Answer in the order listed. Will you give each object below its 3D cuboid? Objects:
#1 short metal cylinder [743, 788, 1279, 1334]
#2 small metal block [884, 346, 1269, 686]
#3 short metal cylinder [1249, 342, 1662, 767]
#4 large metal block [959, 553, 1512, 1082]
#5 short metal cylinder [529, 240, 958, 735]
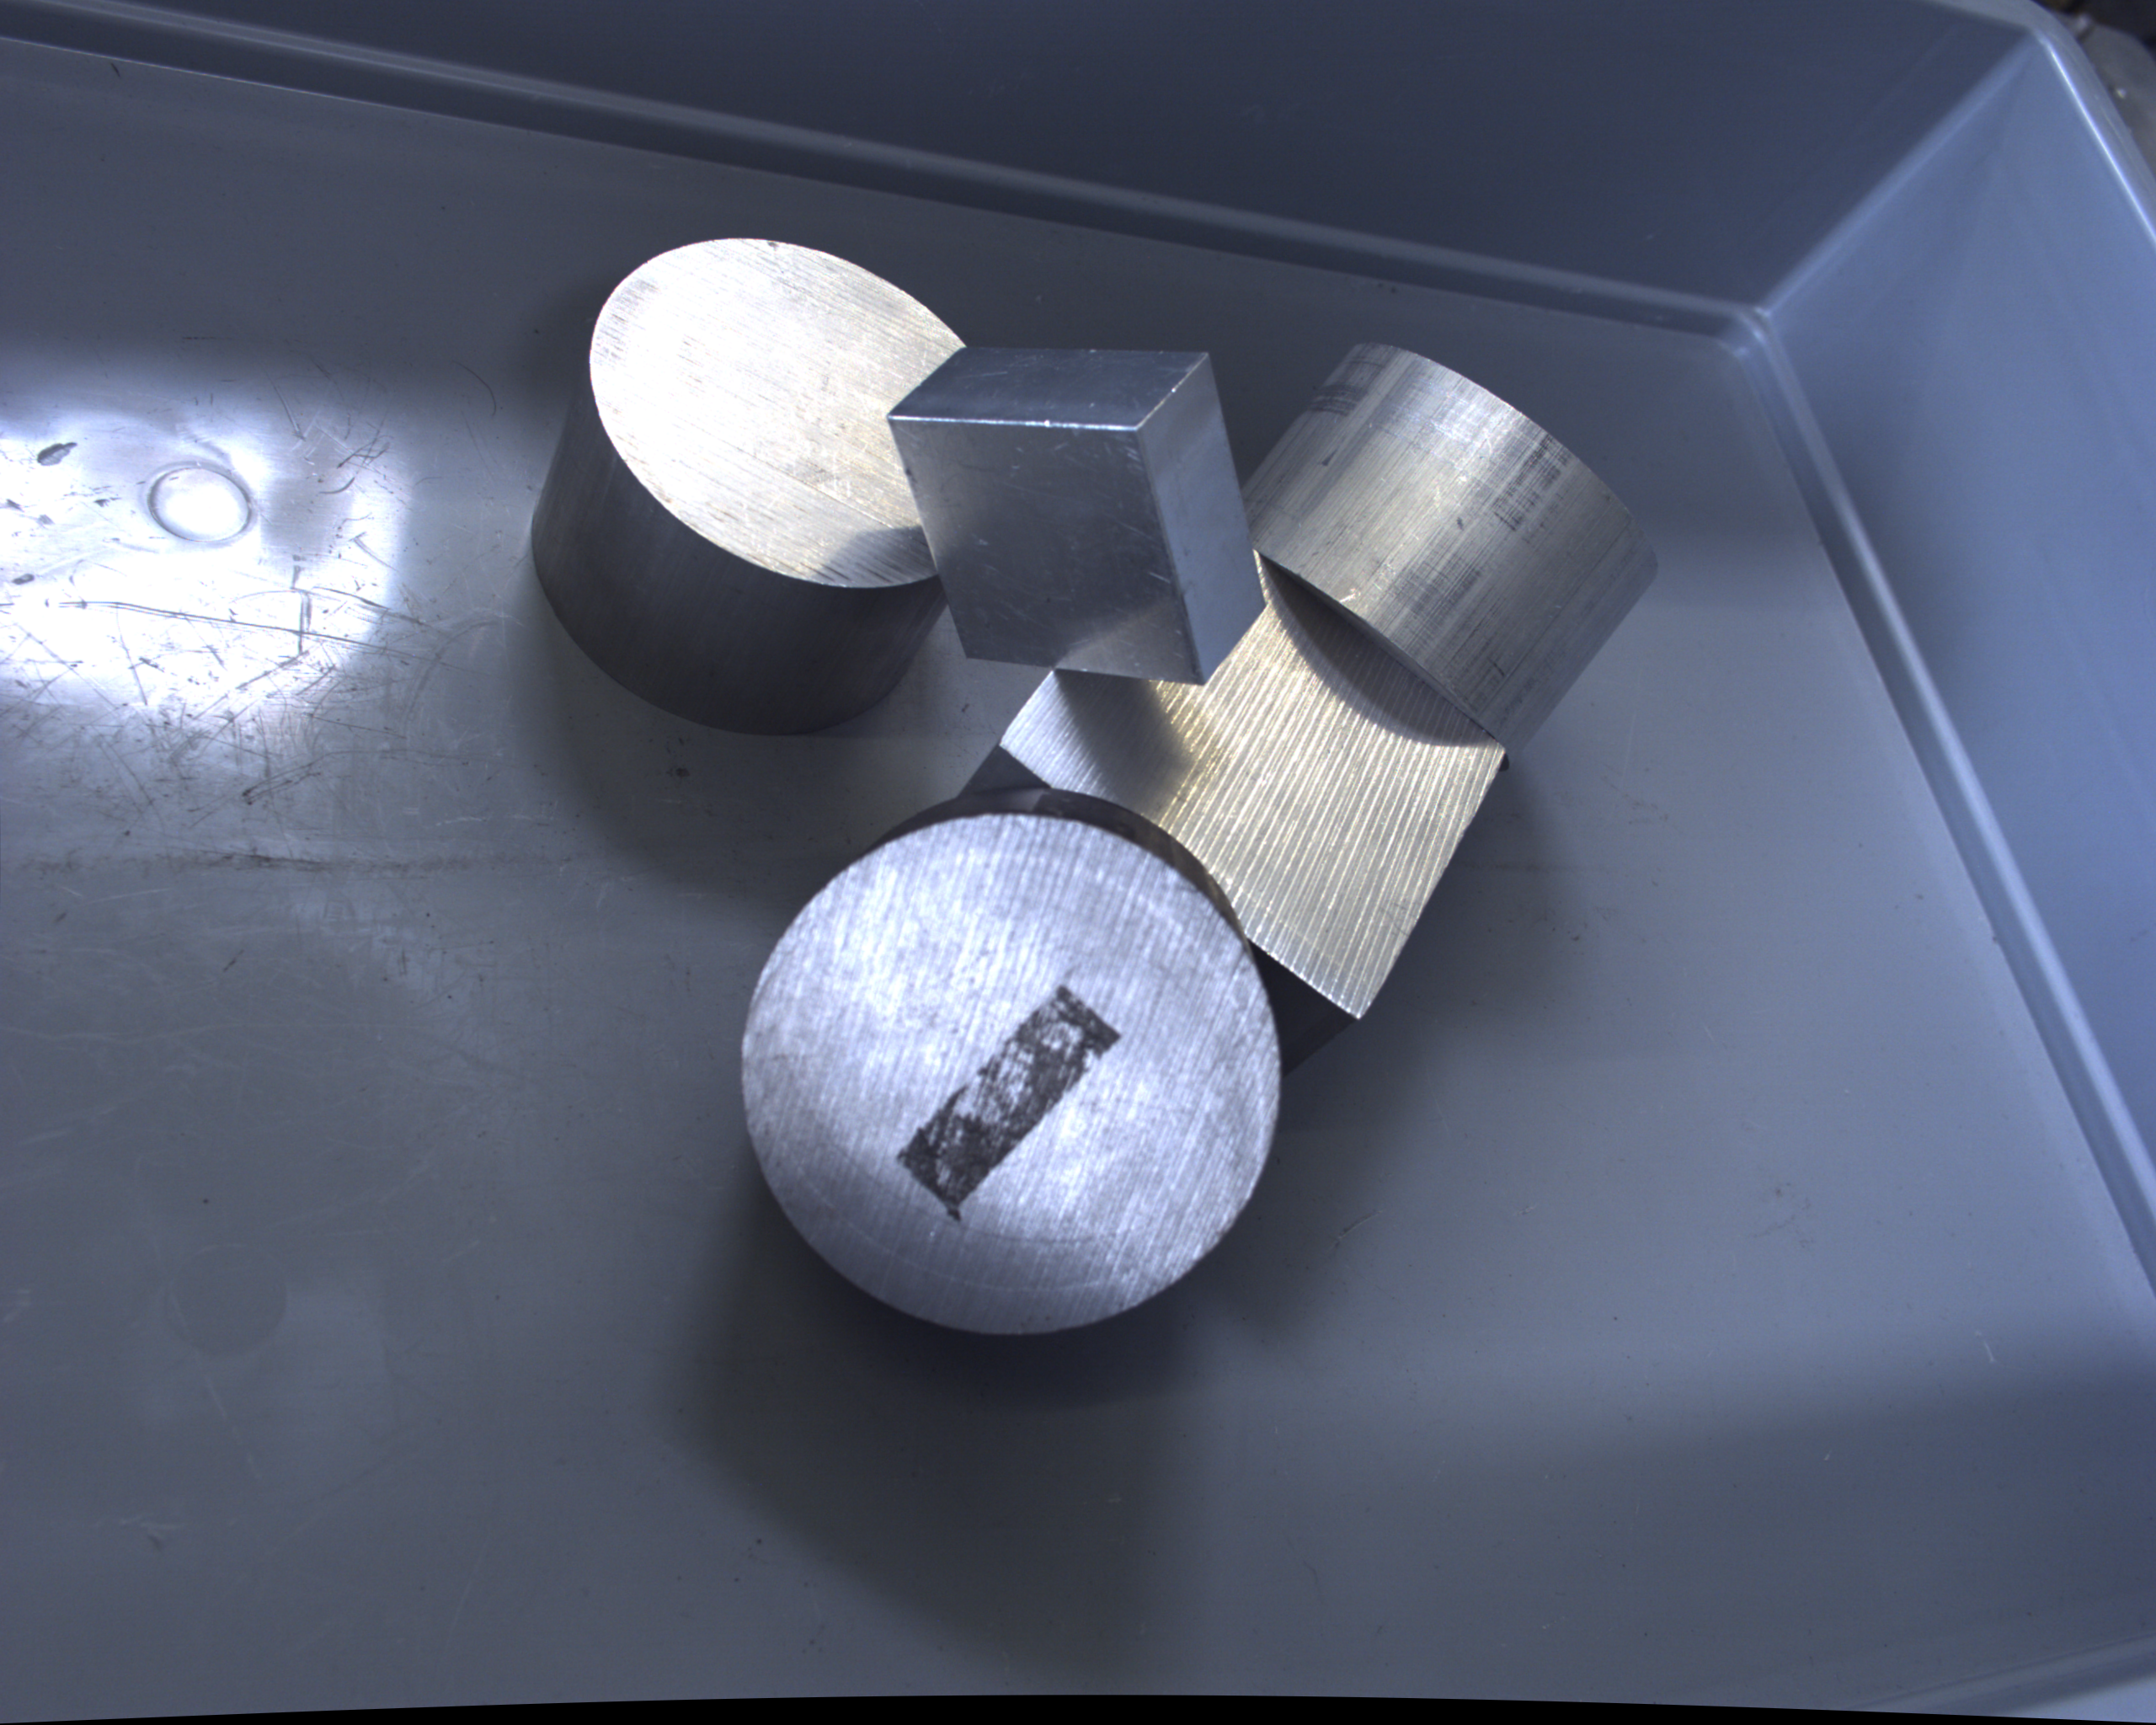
[{"bbox_3d":[-0.009,0.029,0.338,0.080,0.050,0.079,0,97,1],"label":"short metal cylinder"},{"bbox_3d":[0.001,-0.060,0.361,0.050,0.050,0.025,10,45,31],"label":"small metal block"},{"bbox_3d":[0.073,-0.063,0.437,0.080,0.080,0.050,37,90,-4],"label":"short metal cylinder"},{"bbox_3d":[0.025,-0.010,0.404,0.080,0.050,0.080,38,51,-3],"label":"large metal block"},{"bbox_3d":[-0.059,-0.071,0.400,0.081,0.050,0.080,14,56,-21],"label":"short metal cylinder"}]
